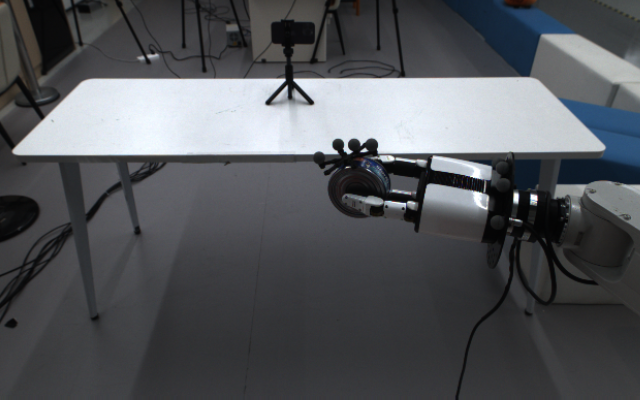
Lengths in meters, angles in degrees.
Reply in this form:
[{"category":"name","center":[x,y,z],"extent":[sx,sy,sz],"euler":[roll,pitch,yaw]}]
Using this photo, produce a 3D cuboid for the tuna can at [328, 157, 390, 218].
[{"category":"tuna can","center":[0.059,-0.012,0.684],"extent":[0.085,0.085,0.034],"euler":[11,34,13]}]
